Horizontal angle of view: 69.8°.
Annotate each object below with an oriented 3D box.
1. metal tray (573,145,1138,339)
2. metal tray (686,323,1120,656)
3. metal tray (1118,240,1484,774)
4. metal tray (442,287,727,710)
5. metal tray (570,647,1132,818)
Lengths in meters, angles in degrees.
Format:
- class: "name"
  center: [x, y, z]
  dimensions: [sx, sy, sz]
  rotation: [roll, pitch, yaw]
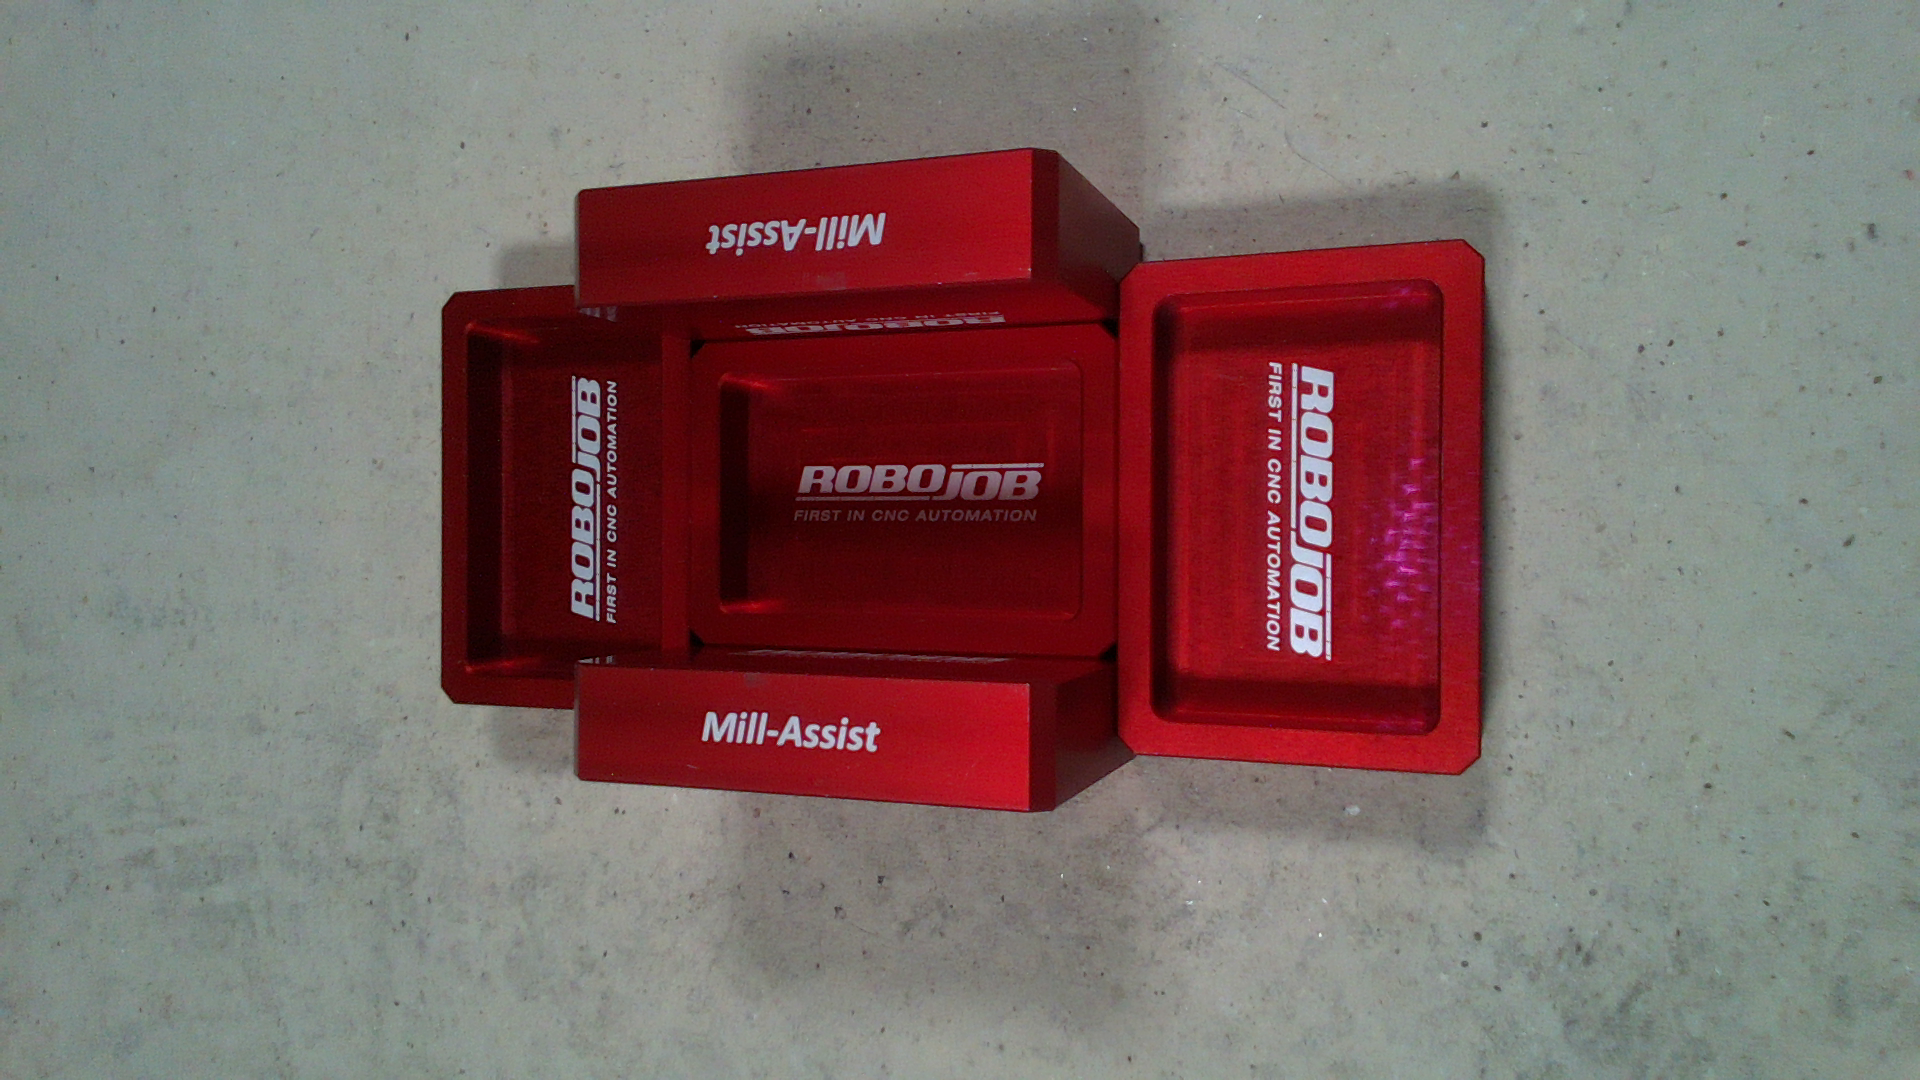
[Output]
- class: "metal tray"
  center: [-0.025, -0.074, 0.370]
  dimensions: [0.130, 0.090, 0.030]
  rotation: [0, 90, 20]
- class: "metal tray"
  center: [-0.015, -0.013, 0.399]
  dimensions: [0.130, 0.030, 0.090]
  rotation: [1, 90, 20]
- class: "metal tray"
  center: [0.089, -0.008, 0.361]
  dimensions: [0.090, 0.030, 0.130]
  rotation: [0, 90, 20]
- class: "metal tray"
  center: [-0.118, -0.013, 0.436]
  dimensions: [0.090, 0.030, 0.130]
  rotation: [0, 90, 20]
- class: "metal tray"
  center: [-0.026, 0.047, 0.369]
  dimensions: [0.130, 0.090, 0.030]
  rotation: [0, 90, 20]
